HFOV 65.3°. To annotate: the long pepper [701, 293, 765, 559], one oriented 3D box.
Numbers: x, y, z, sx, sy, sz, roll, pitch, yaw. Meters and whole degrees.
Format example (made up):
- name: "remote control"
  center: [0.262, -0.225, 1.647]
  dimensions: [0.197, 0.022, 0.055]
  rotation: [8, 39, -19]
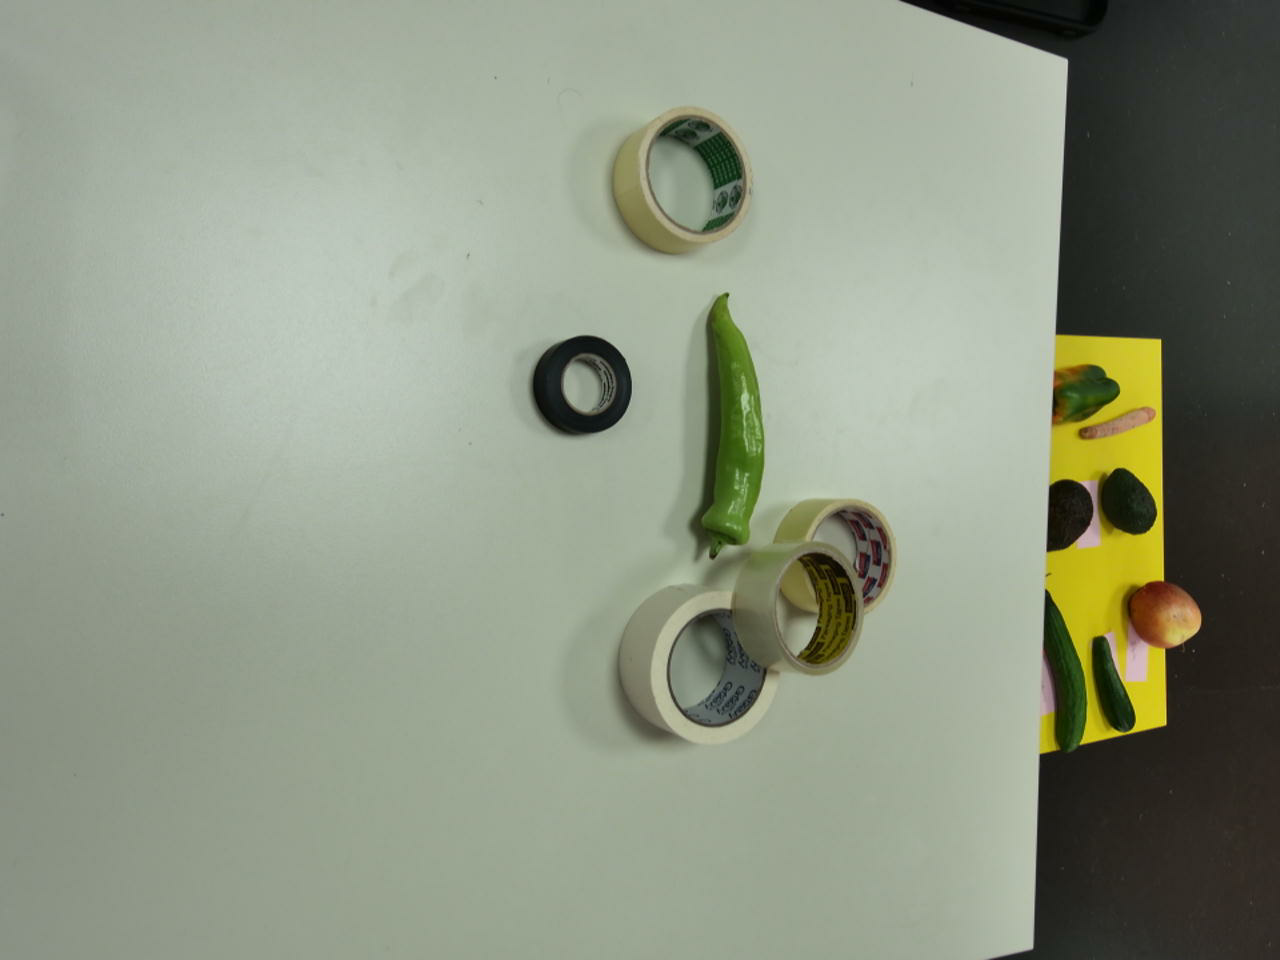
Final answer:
- name: "long pepper"
  center: [0.071, -0.041, 0.728]
  dimensions: [0.046, 0.038, 0.197]
  rotation: [6, 87, -28]
